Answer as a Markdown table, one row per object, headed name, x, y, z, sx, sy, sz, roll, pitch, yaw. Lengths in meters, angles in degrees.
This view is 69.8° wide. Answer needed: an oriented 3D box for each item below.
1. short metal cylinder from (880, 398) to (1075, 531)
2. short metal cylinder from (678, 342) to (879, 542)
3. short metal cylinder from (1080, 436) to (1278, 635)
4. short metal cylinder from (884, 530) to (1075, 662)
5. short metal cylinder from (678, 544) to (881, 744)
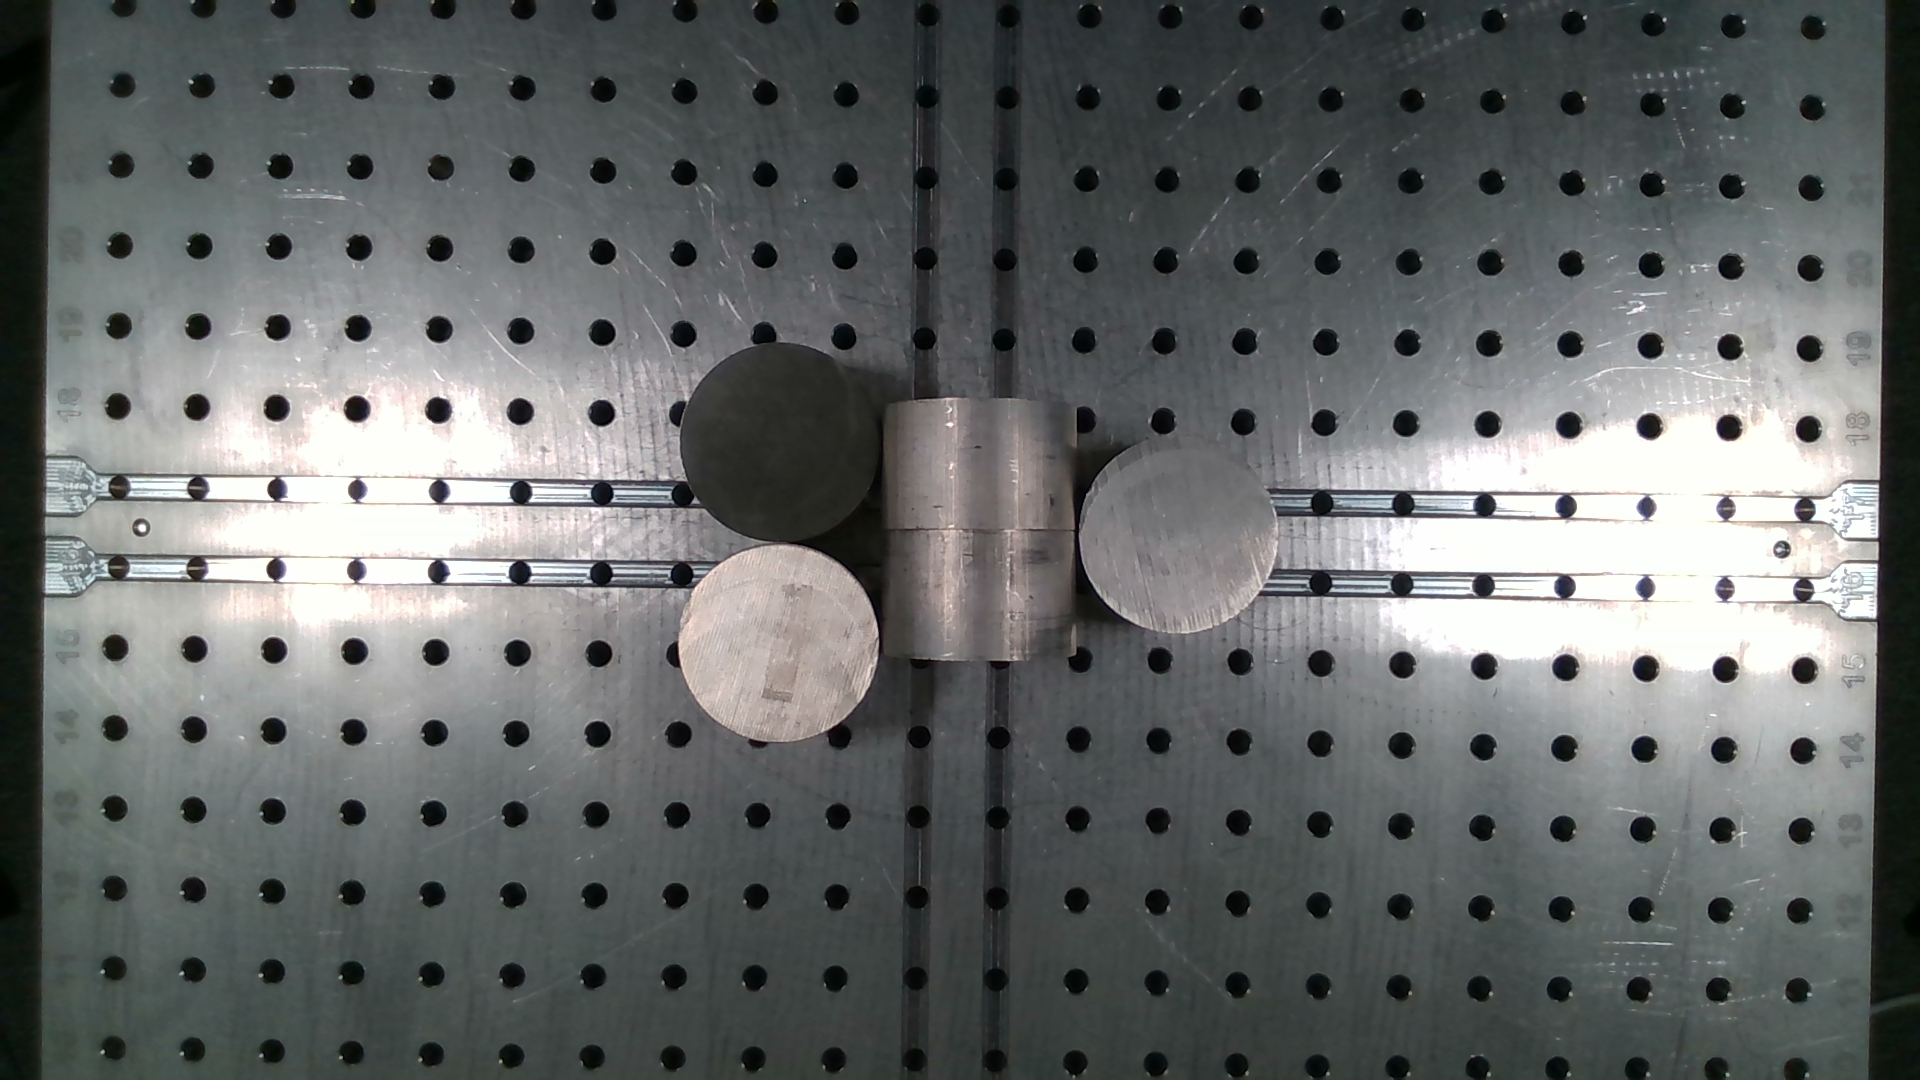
| name | x | y | z | sx | sy | sz | roll | pitch | yaw |
| --- | --- | --- | --- | --- | --- | --- | --- | --- | --- |
| short metal cylinder | 0.007 | -0.029 | 0.562 | 0.080 | 0.080 | 0.050 | 0 | 90 | 0 |
| short metal cylinder | -0.073 | -0.039 | 0.575 | 0.080 | 0.050 | 0.080 | 0 | 90 | 0 |
| short metal cylinder | 0.087 | -0.002 | 0.577 | 0.080 | 0.050 | 0.080 | 0 | 90 | 0 |
| short metal cylinder | 0.008 | 0.021 | 0.563 | 0.080 | 0.080 | 0.050 | 0 | 90 | 0 |
| short metal cylinder | -0.073 | 0.041 | 0.576 | 0.080 | 0.050 | 0.080 | 0 | 90 | 0 |
